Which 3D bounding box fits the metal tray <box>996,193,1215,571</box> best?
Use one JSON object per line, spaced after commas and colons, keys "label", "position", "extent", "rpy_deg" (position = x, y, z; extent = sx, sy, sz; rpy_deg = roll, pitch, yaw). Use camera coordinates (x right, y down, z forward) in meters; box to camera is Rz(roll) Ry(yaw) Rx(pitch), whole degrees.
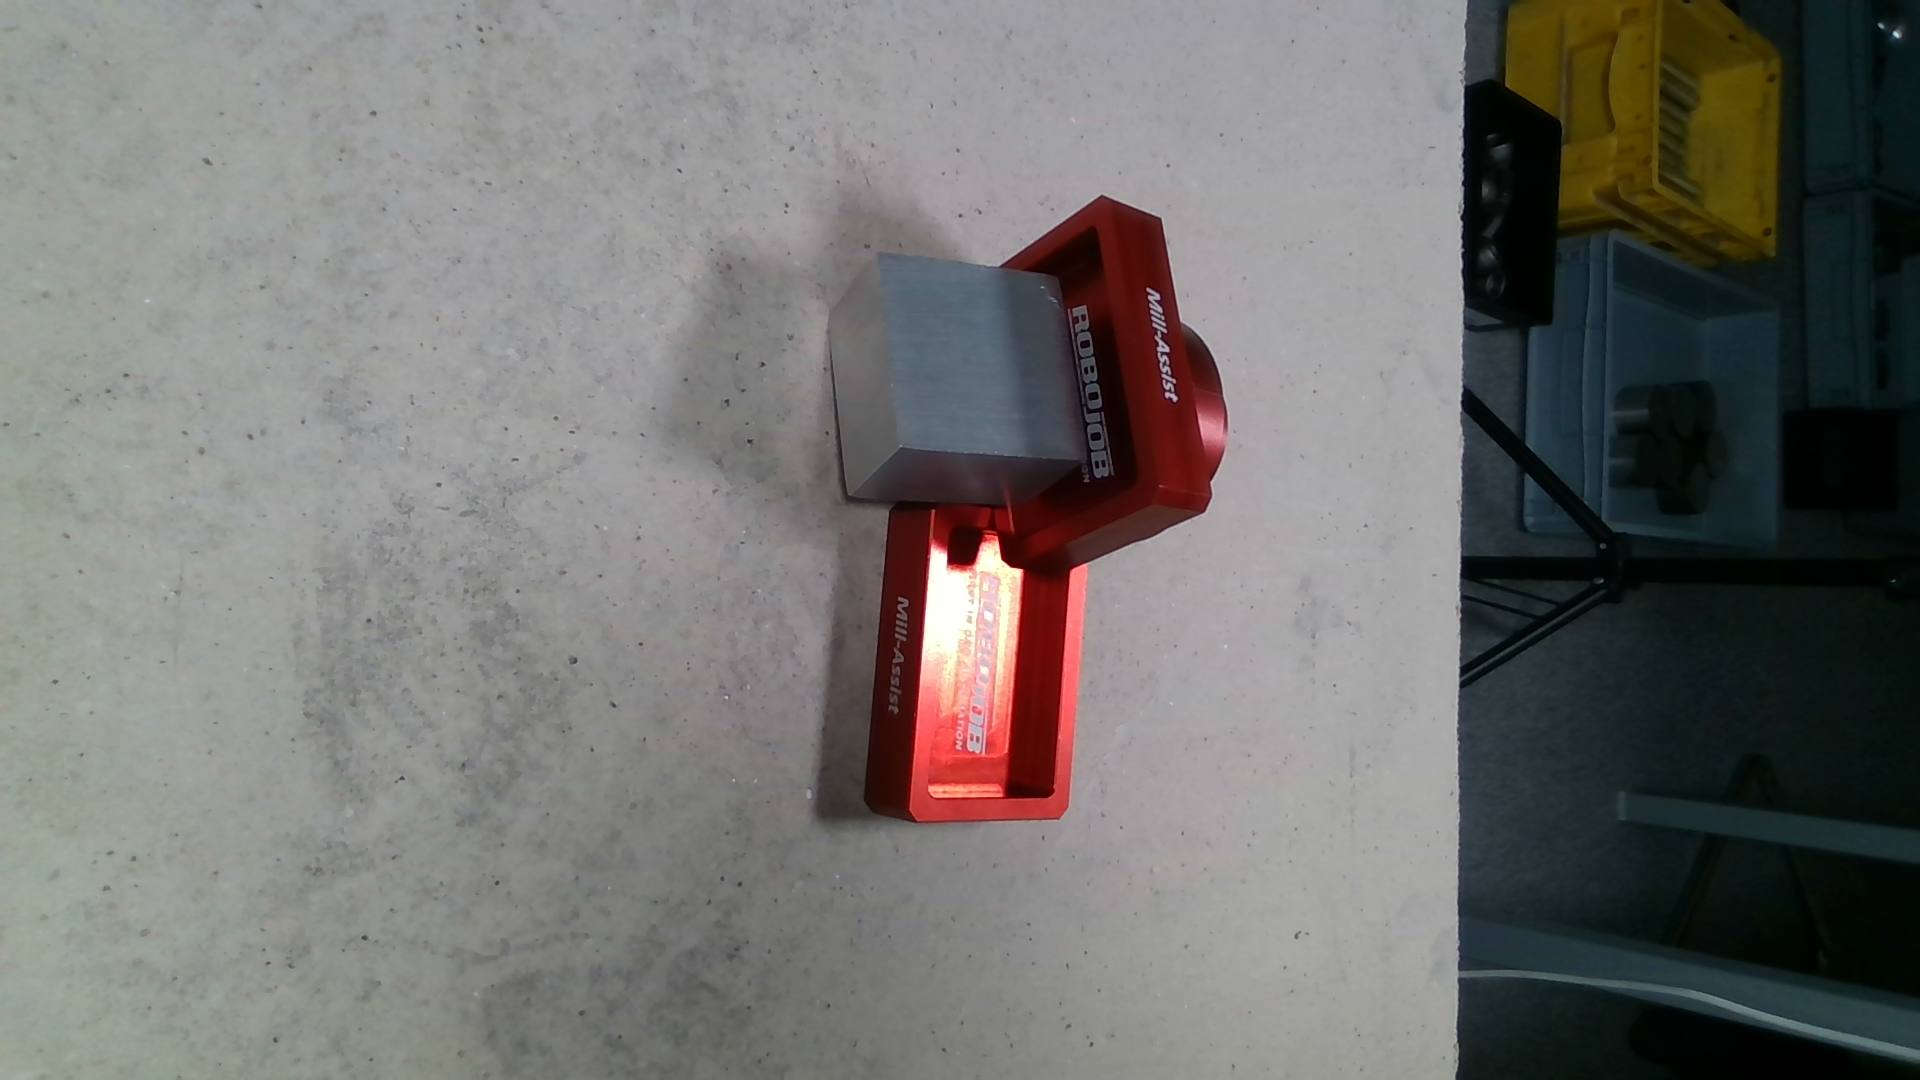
{"label": "metal tray", "position": [0.049, -0.062, 0.560], "extent": [0.030, 0.090, 0.130], "rpy_deg": [8, 66, -39]}

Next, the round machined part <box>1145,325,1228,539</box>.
{"label": "round machined part", "position": [0.074, -0.047, 0.584], "extent": [0.042, 0.098, 0.098], "rpy_deg": [8, 85, -40]}

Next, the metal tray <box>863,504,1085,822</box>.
{"label": "metal tray", "position": [0.009, 0.052, 0.587], "extent": [0.090, 0.030, 0.130], "rpy_deg": [8, 85, -40]}

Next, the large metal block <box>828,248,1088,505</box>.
{"label": "large metal block", "position": [-0.002, -0.062, 0.540], "extent": [0.080, 0.050, 0.080], "rpy_deg": [2, 70, -28]}

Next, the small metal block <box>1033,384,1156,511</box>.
{"label": "small metal block", "position": [0.063, -0.042, 0.637], "extent": [0.050, 0.025, 0.050], "rpy_deg": [8, 85, -40]}
